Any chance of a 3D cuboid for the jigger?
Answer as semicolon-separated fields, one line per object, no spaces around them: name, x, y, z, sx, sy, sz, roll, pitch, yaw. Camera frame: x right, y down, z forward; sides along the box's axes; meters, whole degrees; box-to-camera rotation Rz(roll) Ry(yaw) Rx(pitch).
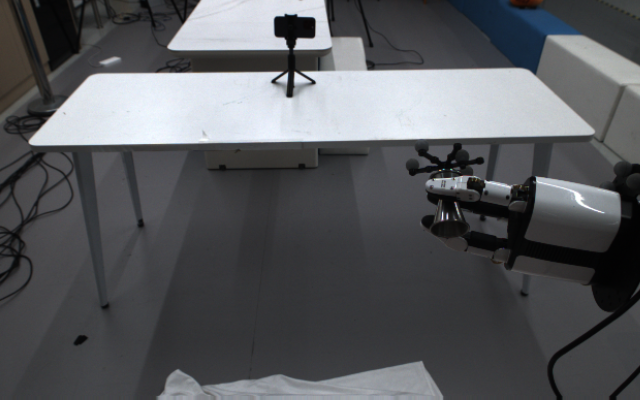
jigger;0.146;0.001;0.556;0.043;0.043;0.071;4;61;3
